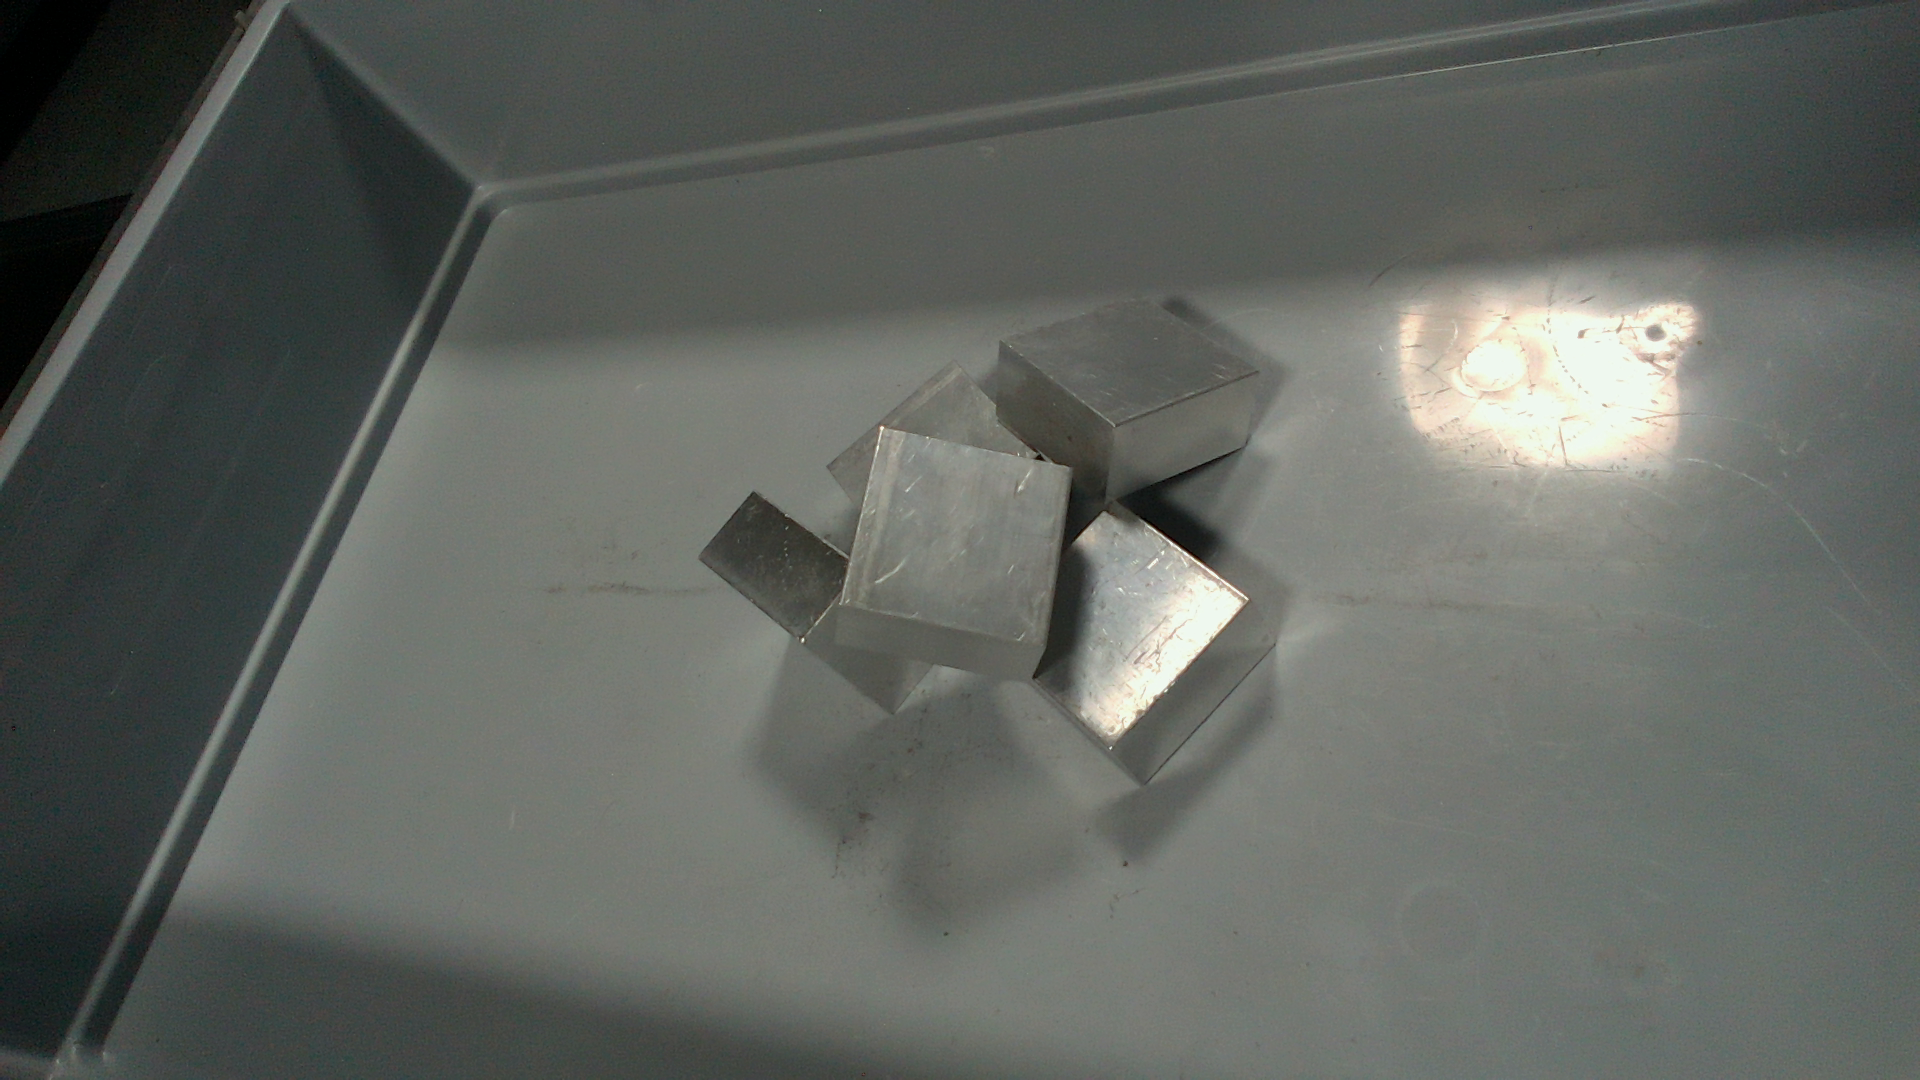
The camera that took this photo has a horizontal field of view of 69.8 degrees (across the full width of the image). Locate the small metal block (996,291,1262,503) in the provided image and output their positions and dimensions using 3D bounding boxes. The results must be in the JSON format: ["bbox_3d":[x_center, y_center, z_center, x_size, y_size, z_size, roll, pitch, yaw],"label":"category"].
[{"bbox_3d":[0.045,-0.041,0.379,0.050,0.025,0.050,-22,45,-28],"label":"small metal block"}]

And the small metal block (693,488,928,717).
[{"bbox_3d":[-0.039,0.018,0.385,0.050,0.050,0.025,33,81,38],"label":"small metal block"}]

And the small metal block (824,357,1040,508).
[{"bbox_3d":[-0.004,-0.018,0.404,0.050,0.025,0.050,-40,51,1],"label":"small metal block"}]

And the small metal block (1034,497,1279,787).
[{"bbox_3d":[0.044,0.025,0.353,0.050,0.025,0.050,-46,51,-4],"label":"small metal block"}]

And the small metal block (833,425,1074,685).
[{"bbox_3d":[-0.001,0.004,0.344,0.050,0.025,0.050,12,63,-2],"label":"small metal block"}]
